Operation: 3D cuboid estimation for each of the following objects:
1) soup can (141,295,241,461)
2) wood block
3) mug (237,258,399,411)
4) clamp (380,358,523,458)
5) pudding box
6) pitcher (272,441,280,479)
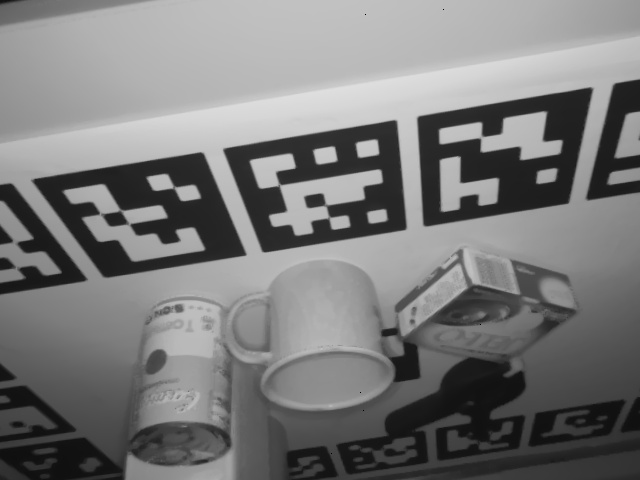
[{"bbox_3d":[-0.092,0.100,0.513,0.068,0.103,0.067,-4,135,-3],"label":"soup can"},{"bbox_3d":[-0.092,0.200,0.544,0.089,0.208,0.090,-8,138,8],"label":"wood block"},{"bbox_3d":[-0.004,0.065,0.503,0.118,0.082,0.092,16,136,-25],"label":"mug"},{"bbox_3d":[0.144,0.159,0.673,0.123,0.037,0.162,16,133,-14],"label":"clamp"},{"bbox_3d":[0.141,0.055,0.550,0.115,0.039,0.088,17,130,-26],"label":"pudding box"},{"bbox_3d":[-0.097,0.294,0.625,0.189,0.244,0.132,-11,140,1],"label":"pitcher"}]
